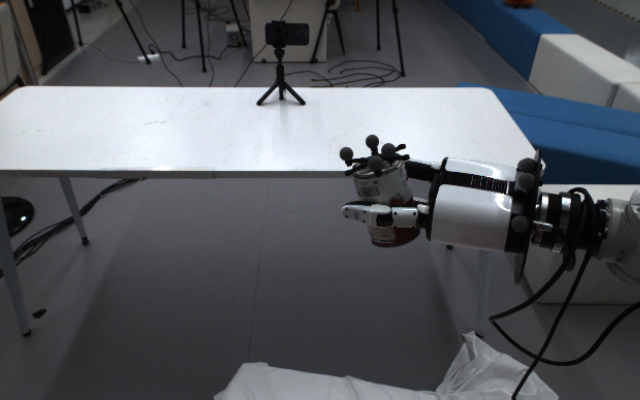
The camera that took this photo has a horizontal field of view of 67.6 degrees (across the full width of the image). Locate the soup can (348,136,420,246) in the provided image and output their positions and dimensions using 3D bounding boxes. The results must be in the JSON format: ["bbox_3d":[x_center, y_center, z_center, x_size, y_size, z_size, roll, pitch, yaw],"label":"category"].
[{"bbox_3d":[0.086,-0.001,0.612,0.067,0.101,0.067,-16,22,7],"label":"soup can"}]
